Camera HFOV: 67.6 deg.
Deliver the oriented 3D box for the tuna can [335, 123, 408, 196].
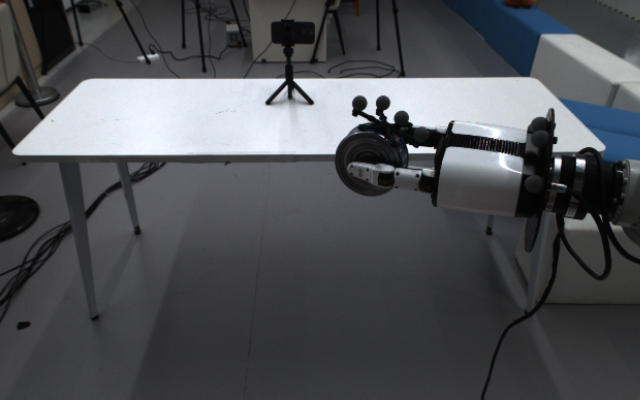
[{"bbox_3d":[0.066,-0.043,0.587,0.085,0.085,0.034,15,31,18],"label":"tuna can"}]
